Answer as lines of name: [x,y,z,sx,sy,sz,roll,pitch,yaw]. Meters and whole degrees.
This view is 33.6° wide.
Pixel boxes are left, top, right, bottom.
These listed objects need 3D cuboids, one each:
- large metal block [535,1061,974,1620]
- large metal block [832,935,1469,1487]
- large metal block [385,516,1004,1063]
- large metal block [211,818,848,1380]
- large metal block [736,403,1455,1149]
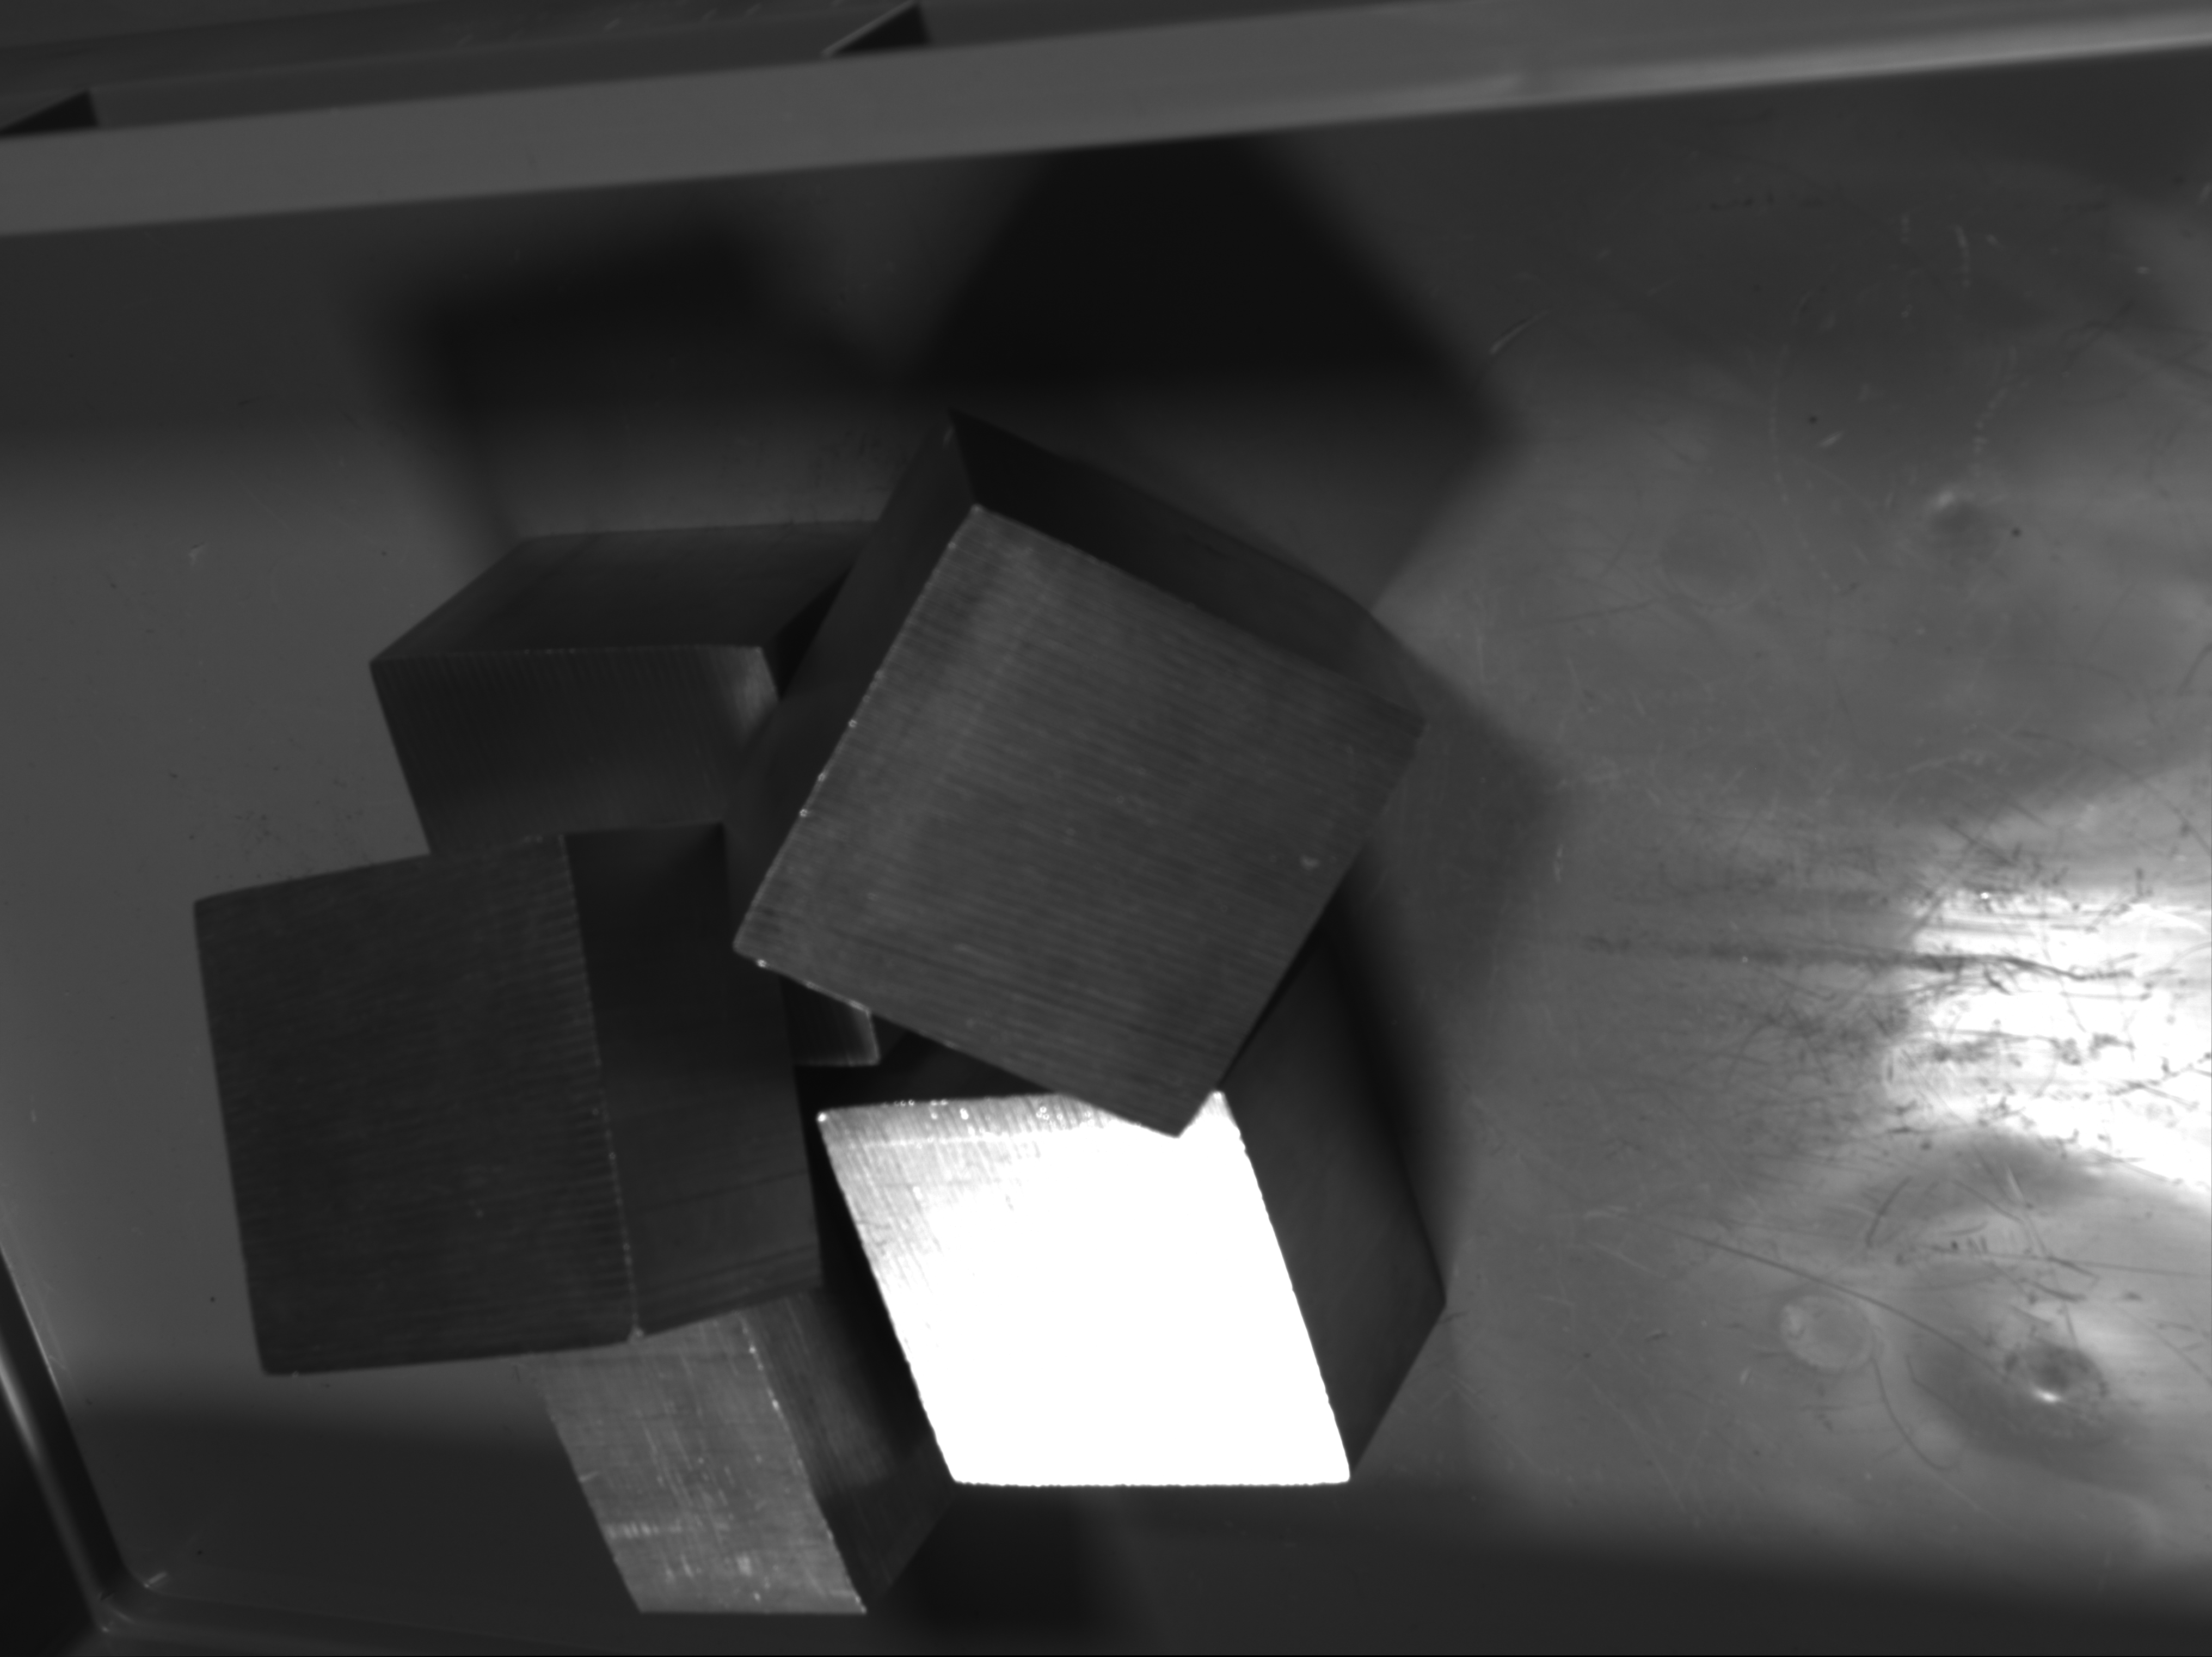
large metal block: [-0.057,0.089,0.676,0.050,0.080,0.080,-7,115,30]
large metal block: [0.009,0.069,0.648,0.080,0.050,0.080,-6,116,29]
large metal block: [-0.069,-0.006,0.645,0.080,0.050,0.080,-1,118,27]
large metal block: [-0.095,0.044,0.605,0.080,0.050,0.080,-10,88,31]
large metal block: [-0.004,-0.008,0.578,0.080,0.050,0.080,25,108,-17]
